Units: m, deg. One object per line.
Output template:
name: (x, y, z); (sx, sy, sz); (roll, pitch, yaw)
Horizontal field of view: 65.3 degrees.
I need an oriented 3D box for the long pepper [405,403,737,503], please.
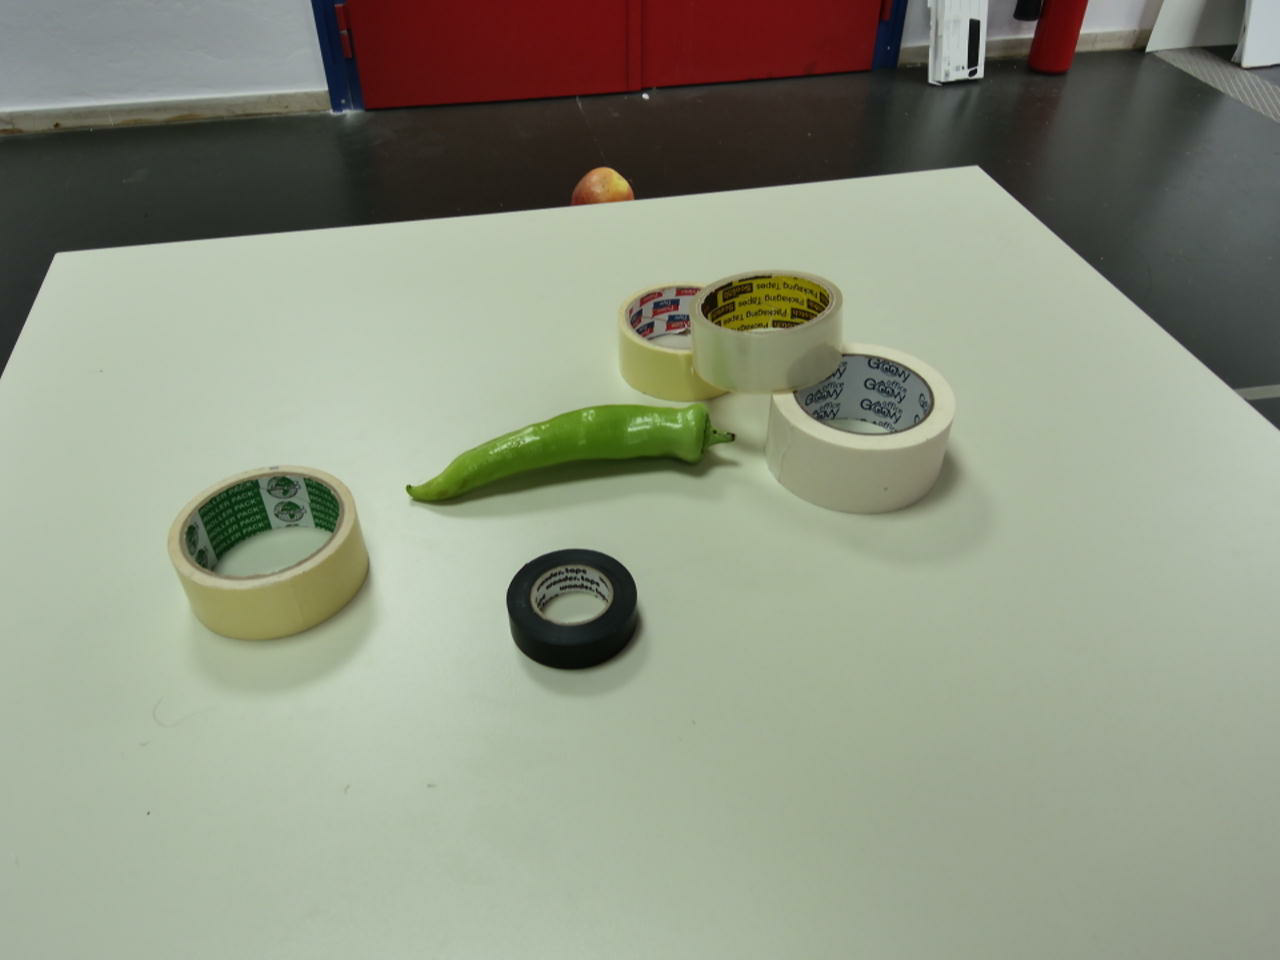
long pepper: (-0.041, -0.022, 0.596); (0.197, 0.038, 0.046); (-6, 40, -8)
